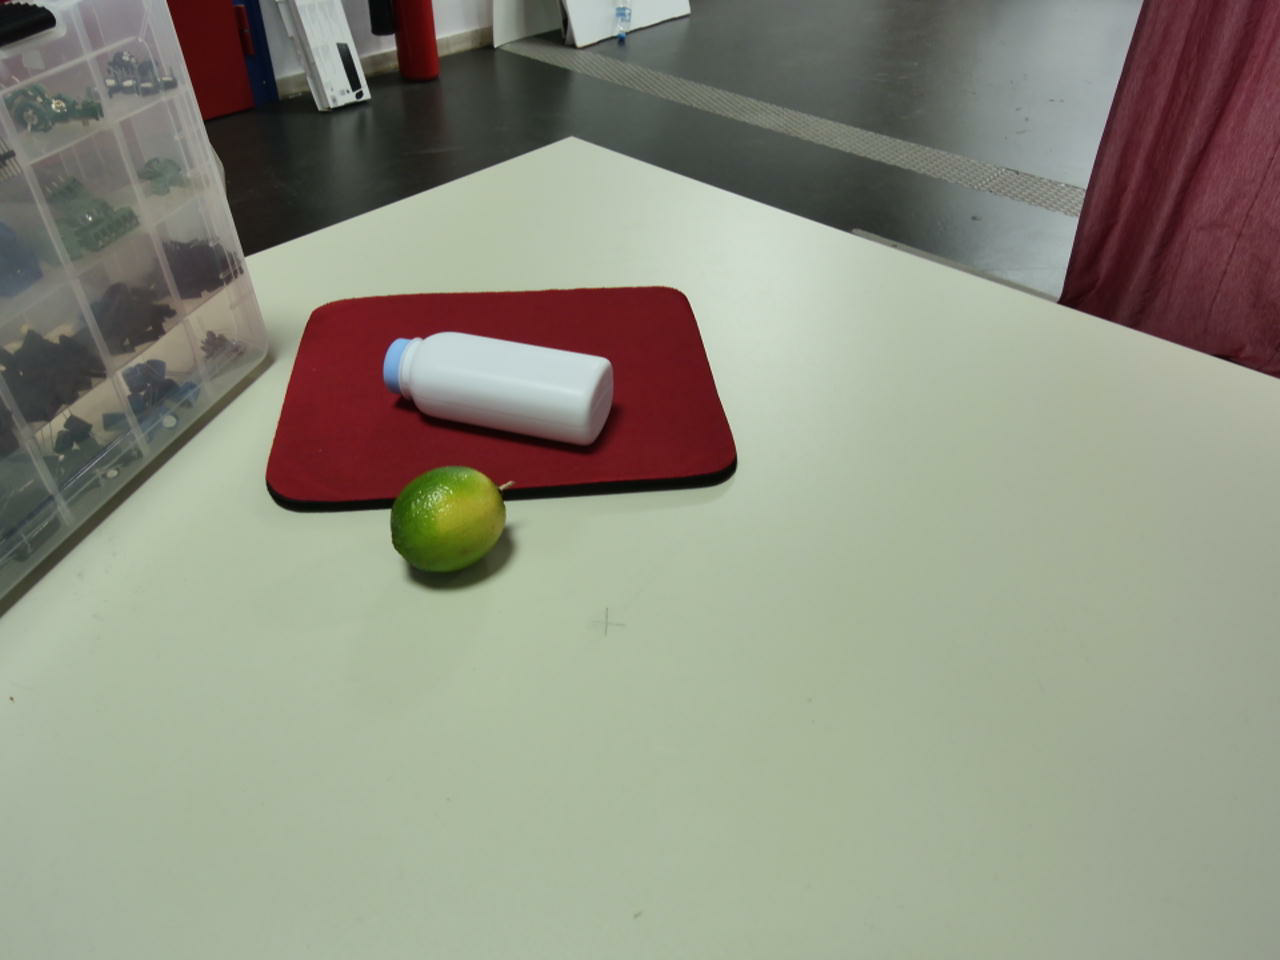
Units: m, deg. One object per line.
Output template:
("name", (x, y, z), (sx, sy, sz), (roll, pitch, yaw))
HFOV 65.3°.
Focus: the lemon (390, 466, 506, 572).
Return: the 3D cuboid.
("lemon", (-0.094, 0.019, 0.491), (0.055, 0.050, 0.054), (2, 37, 0))
